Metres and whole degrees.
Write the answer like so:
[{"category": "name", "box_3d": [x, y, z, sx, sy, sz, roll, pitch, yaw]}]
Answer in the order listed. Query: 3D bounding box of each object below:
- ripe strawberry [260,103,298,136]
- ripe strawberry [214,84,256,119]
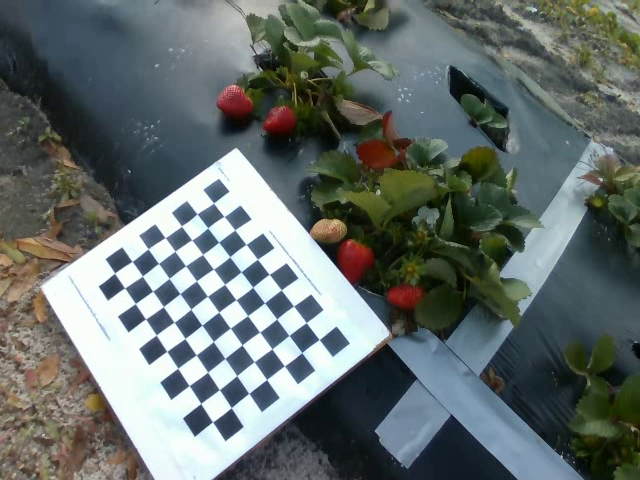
[{"category": "ripe strawberry", "box_3d": [-0.056, -0.163, 0.848, 0.042, 0.034, 0.053, 32, 41, 21]}, {"category": "ripe strawberry", "box_3d": [-0.118, -0.186, 0.856, 0.050, 0.045, 0.061, 37, 39, 22]}]
